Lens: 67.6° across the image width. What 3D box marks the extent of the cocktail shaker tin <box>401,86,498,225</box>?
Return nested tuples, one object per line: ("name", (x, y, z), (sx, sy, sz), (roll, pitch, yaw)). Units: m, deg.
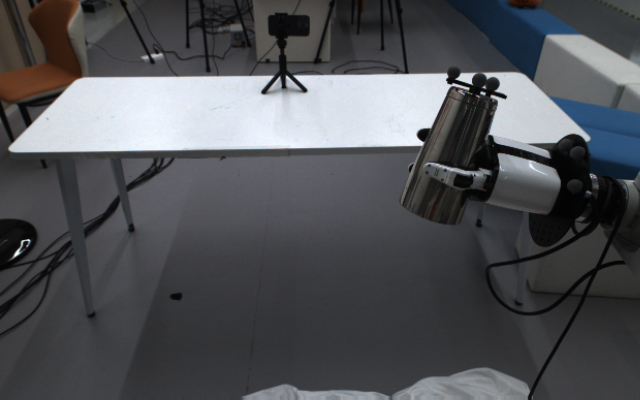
("cocktail shaker tin", (0.181, -0.063, 0.665), (0.093, 0.170, 0.093), (14, 19, -5))
